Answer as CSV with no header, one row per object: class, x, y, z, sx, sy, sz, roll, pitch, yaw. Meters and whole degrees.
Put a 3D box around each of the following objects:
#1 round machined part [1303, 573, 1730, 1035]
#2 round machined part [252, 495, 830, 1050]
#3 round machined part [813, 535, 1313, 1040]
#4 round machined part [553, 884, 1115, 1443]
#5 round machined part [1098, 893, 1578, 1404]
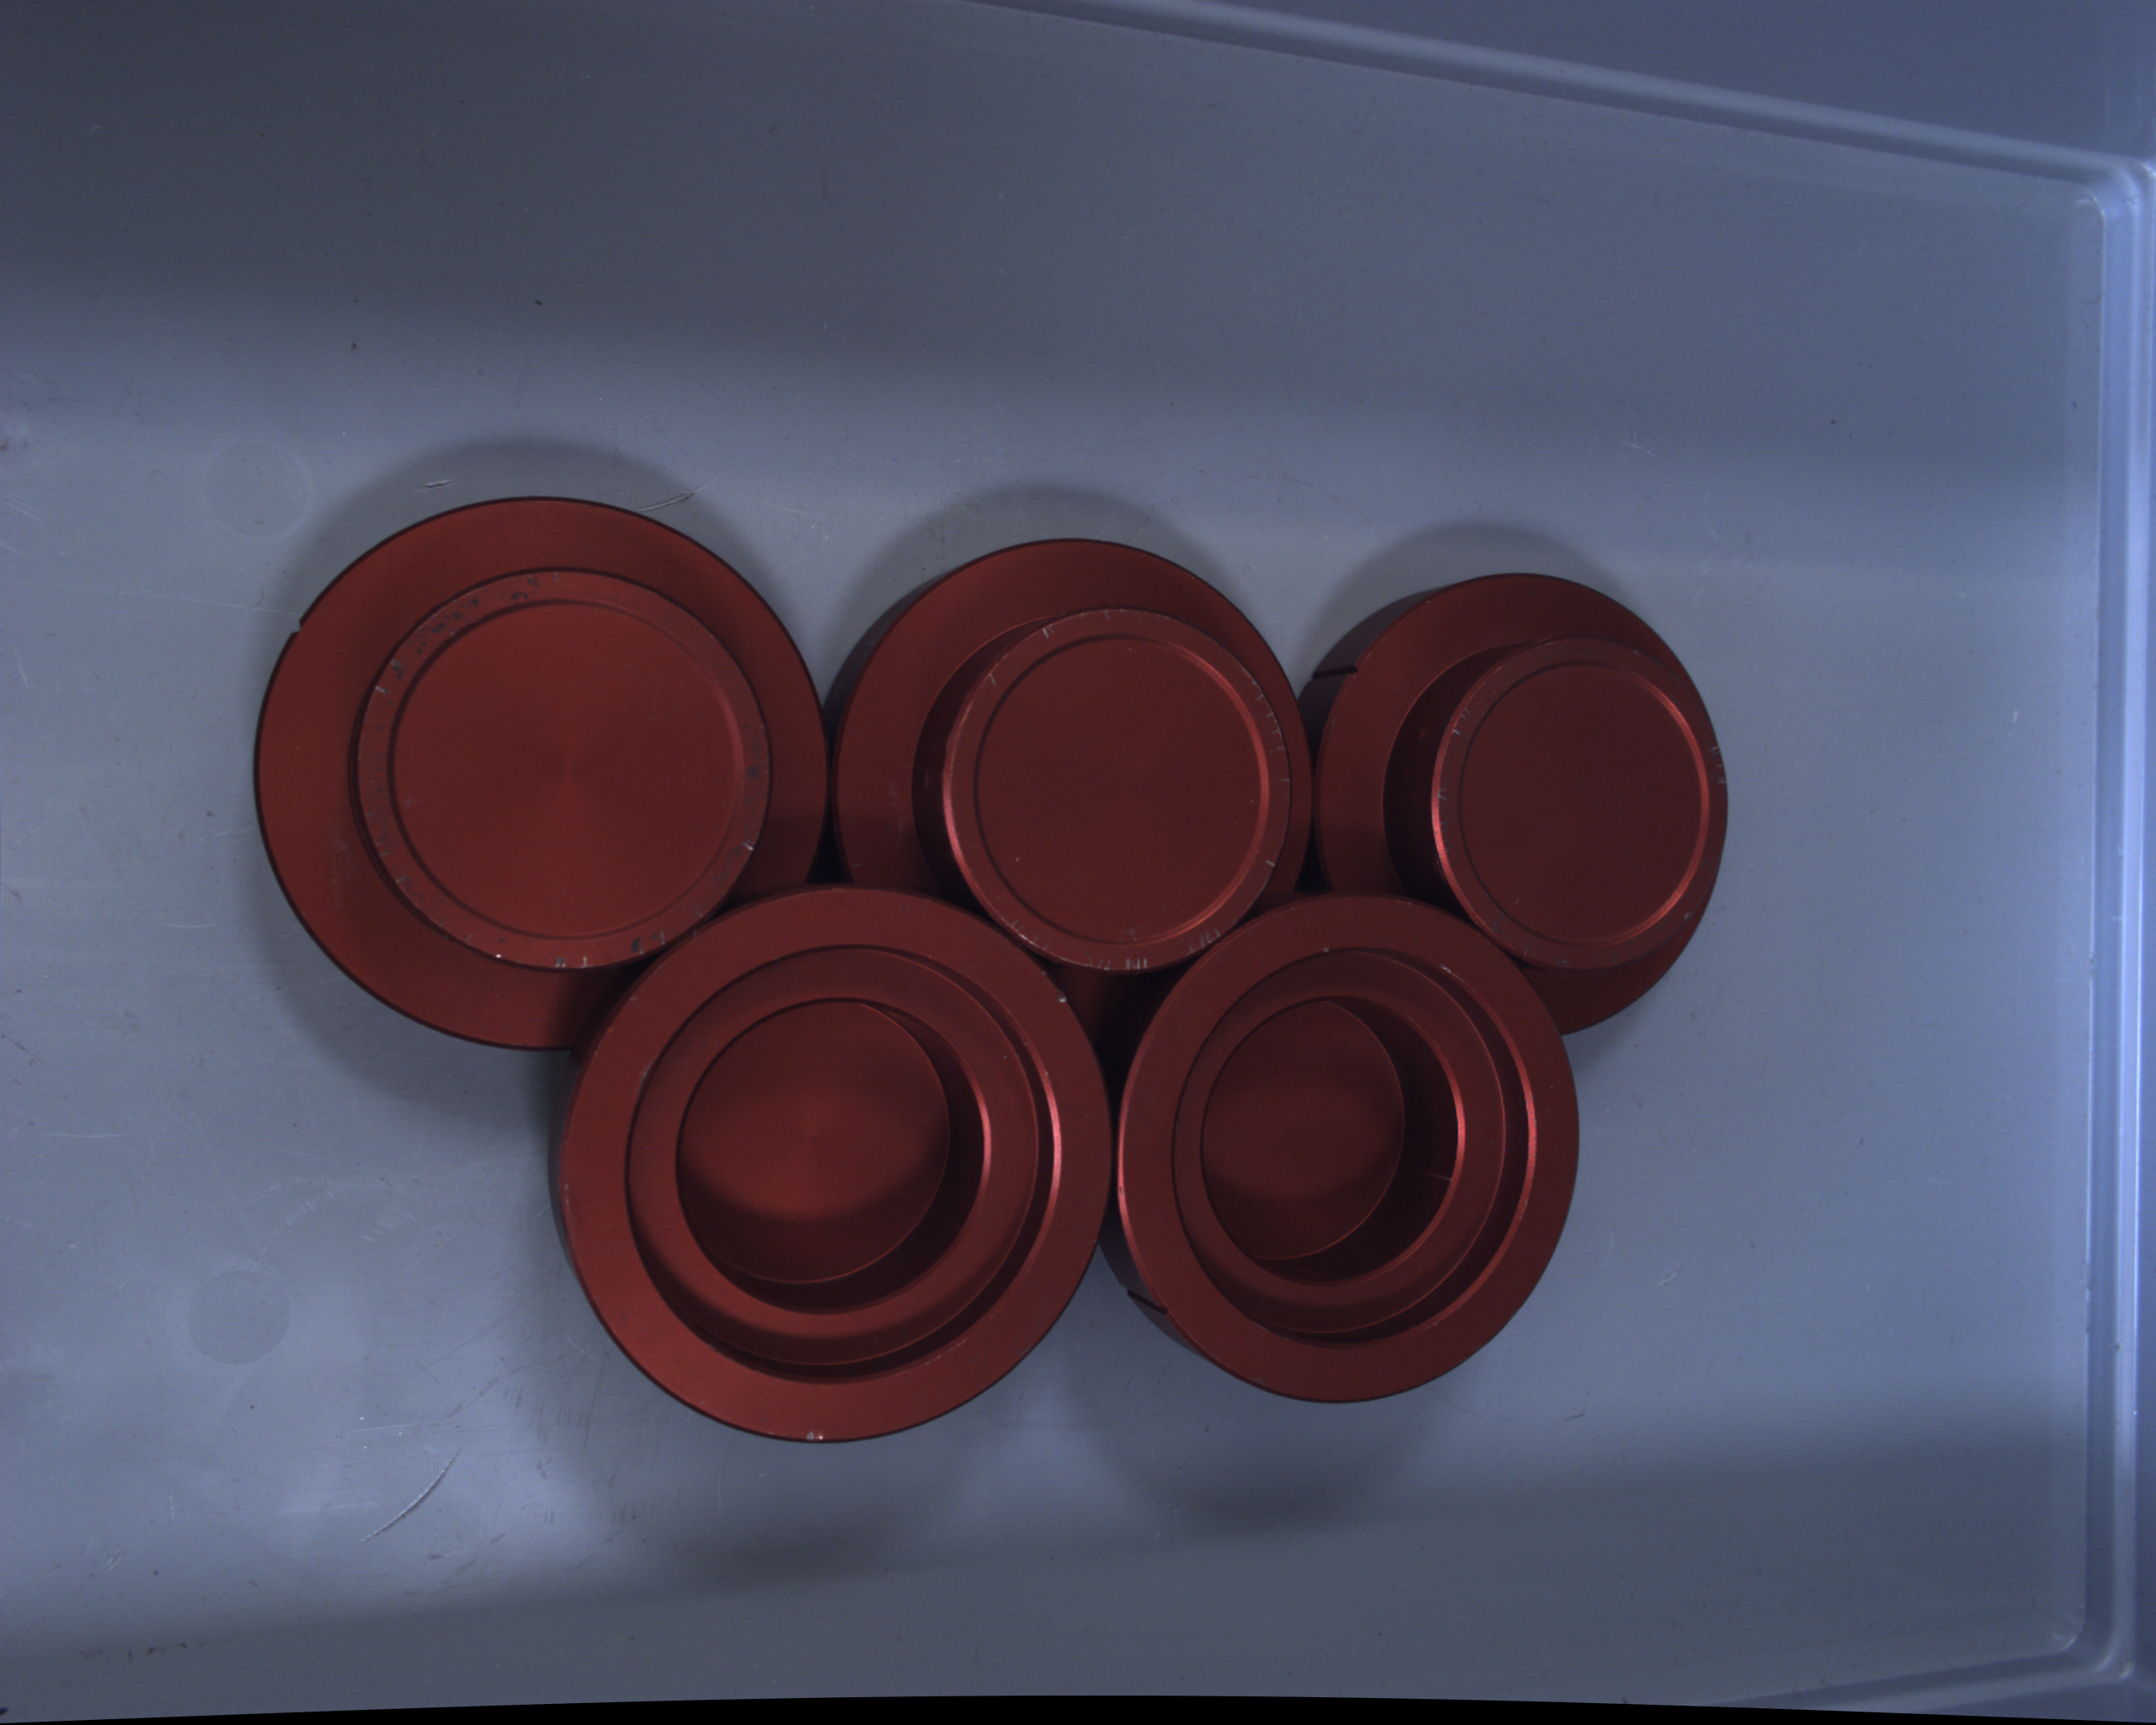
round machined part,0.094,-0.012,0.433,0.099,0.042,0.097,0,89,-20
round machined part,-0.091,-0.016,0.365,0.099,0.042,0.097,0,89,-21
round machined part,0.001,-0.014,0.399,0.099,0.042,0.097,0,89,-20
round machined part,-0.046,0.052,0.382,0.099,0.042,0.097,0,90,-20
round machined part,0.046,0.054,0.417,0.099,0.042,0.097,0,90,-20
